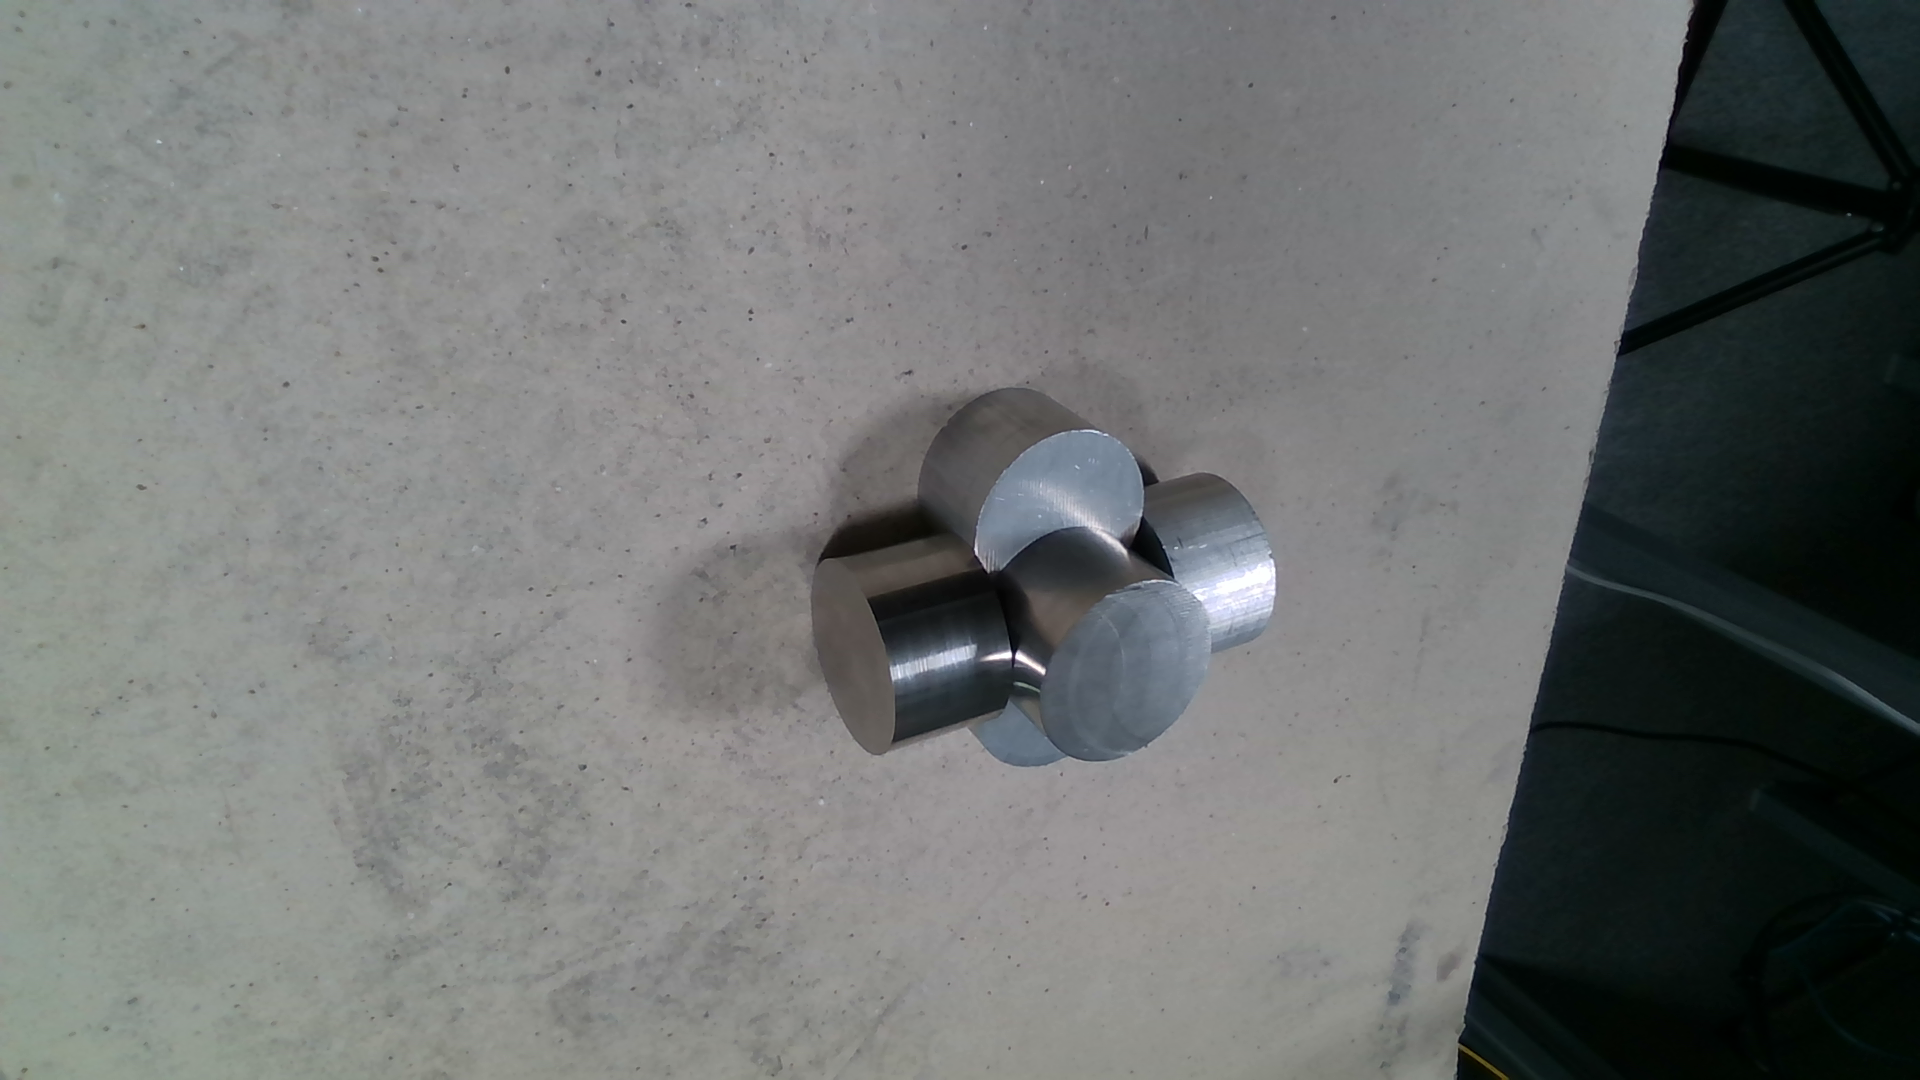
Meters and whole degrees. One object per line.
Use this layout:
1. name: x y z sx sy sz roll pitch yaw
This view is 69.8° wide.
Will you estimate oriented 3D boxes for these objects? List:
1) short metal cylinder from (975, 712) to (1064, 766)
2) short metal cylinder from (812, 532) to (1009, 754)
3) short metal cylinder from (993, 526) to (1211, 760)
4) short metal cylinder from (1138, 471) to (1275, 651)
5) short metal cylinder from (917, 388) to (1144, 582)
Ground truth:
1. short metal cylinder: 0.030 0.053 0.611 0.080 0.050 0.080 -14 122 -25
2. short metal cylinder: -0.022 0.040 0.554 0.050 0.080 0.080 -14 121 -25
3. short metal cylinder: 0.053 0.041 0.554 0.080 0.050 0.080 -14 122 -25
4. short metal cylinder: 0.094 0.014 0.611 0.050 0.080 0.080 -15 122 -25
5. short metal cylinder: 0.029 -0.017 0.573 0.080 0.050 0.080 -14 122 -25
